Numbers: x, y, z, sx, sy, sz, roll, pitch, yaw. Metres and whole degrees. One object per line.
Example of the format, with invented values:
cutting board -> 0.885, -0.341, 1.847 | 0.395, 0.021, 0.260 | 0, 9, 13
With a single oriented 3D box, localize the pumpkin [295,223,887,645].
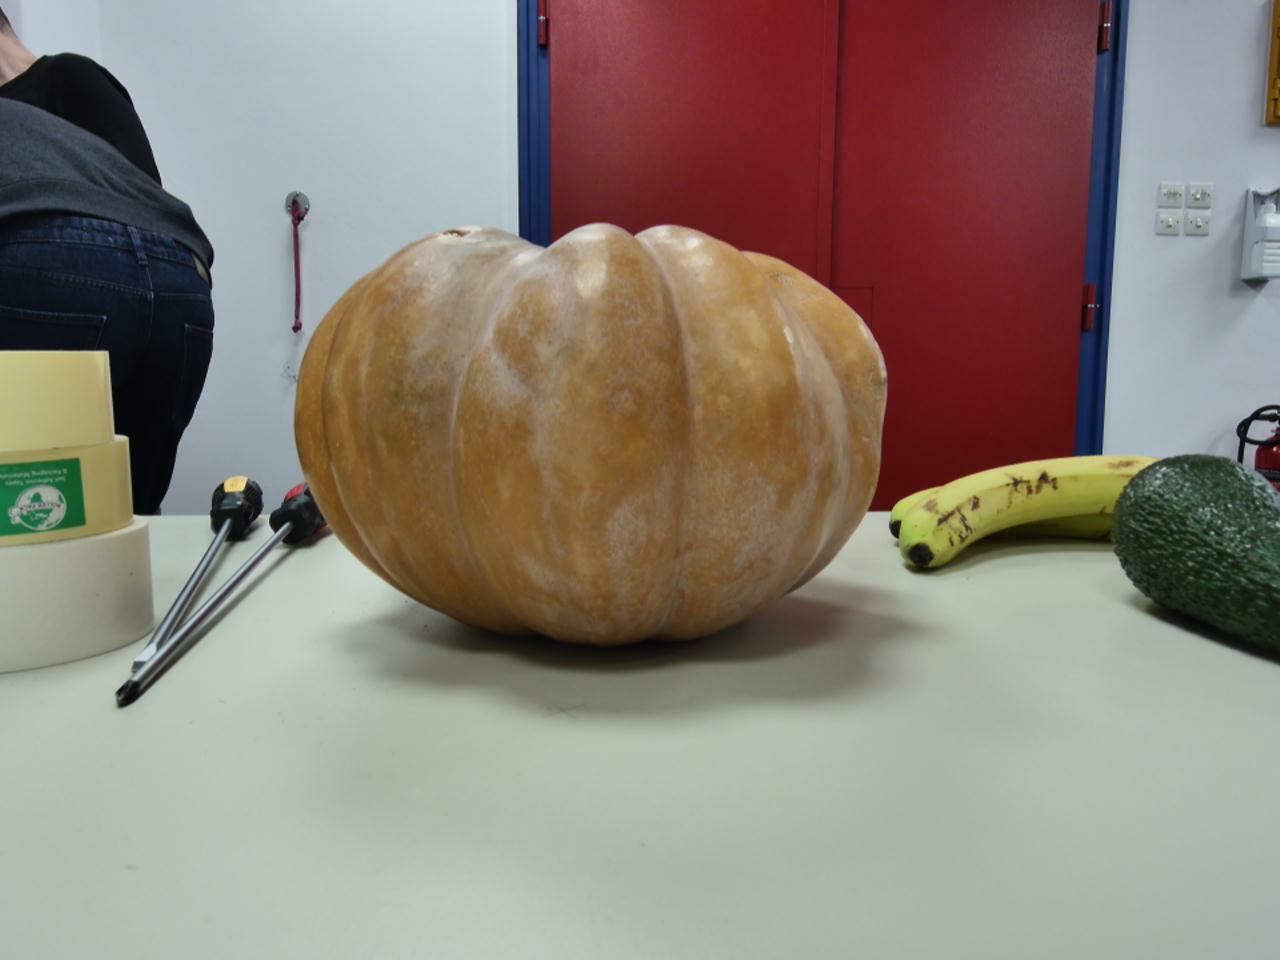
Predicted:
pumpkin -> -0.019, -0.024, 0.463 | 0.277, 0.181, 0.277 | 0, 5, 0
